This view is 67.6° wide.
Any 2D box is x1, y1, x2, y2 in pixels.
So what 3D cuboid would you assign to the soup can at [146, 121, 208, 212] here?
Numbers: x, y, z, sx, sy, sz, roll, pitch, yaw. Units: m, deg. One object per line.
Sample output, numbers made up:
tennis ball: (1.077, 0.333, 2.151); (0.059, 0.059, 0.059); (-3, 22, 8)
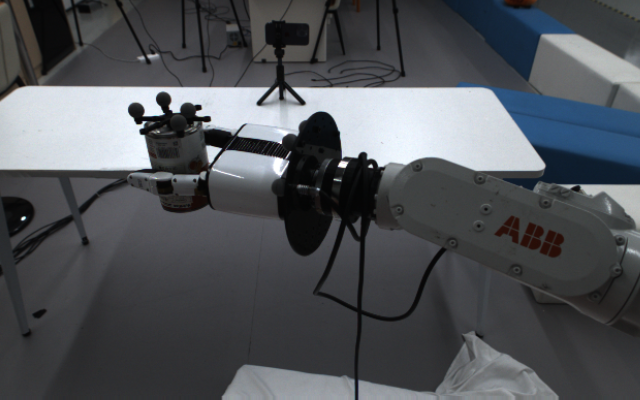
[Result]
soup can: (-0.167, -0.044, 0.581); (0.067, 0.101, 0.067); (-1, 32, 1)
